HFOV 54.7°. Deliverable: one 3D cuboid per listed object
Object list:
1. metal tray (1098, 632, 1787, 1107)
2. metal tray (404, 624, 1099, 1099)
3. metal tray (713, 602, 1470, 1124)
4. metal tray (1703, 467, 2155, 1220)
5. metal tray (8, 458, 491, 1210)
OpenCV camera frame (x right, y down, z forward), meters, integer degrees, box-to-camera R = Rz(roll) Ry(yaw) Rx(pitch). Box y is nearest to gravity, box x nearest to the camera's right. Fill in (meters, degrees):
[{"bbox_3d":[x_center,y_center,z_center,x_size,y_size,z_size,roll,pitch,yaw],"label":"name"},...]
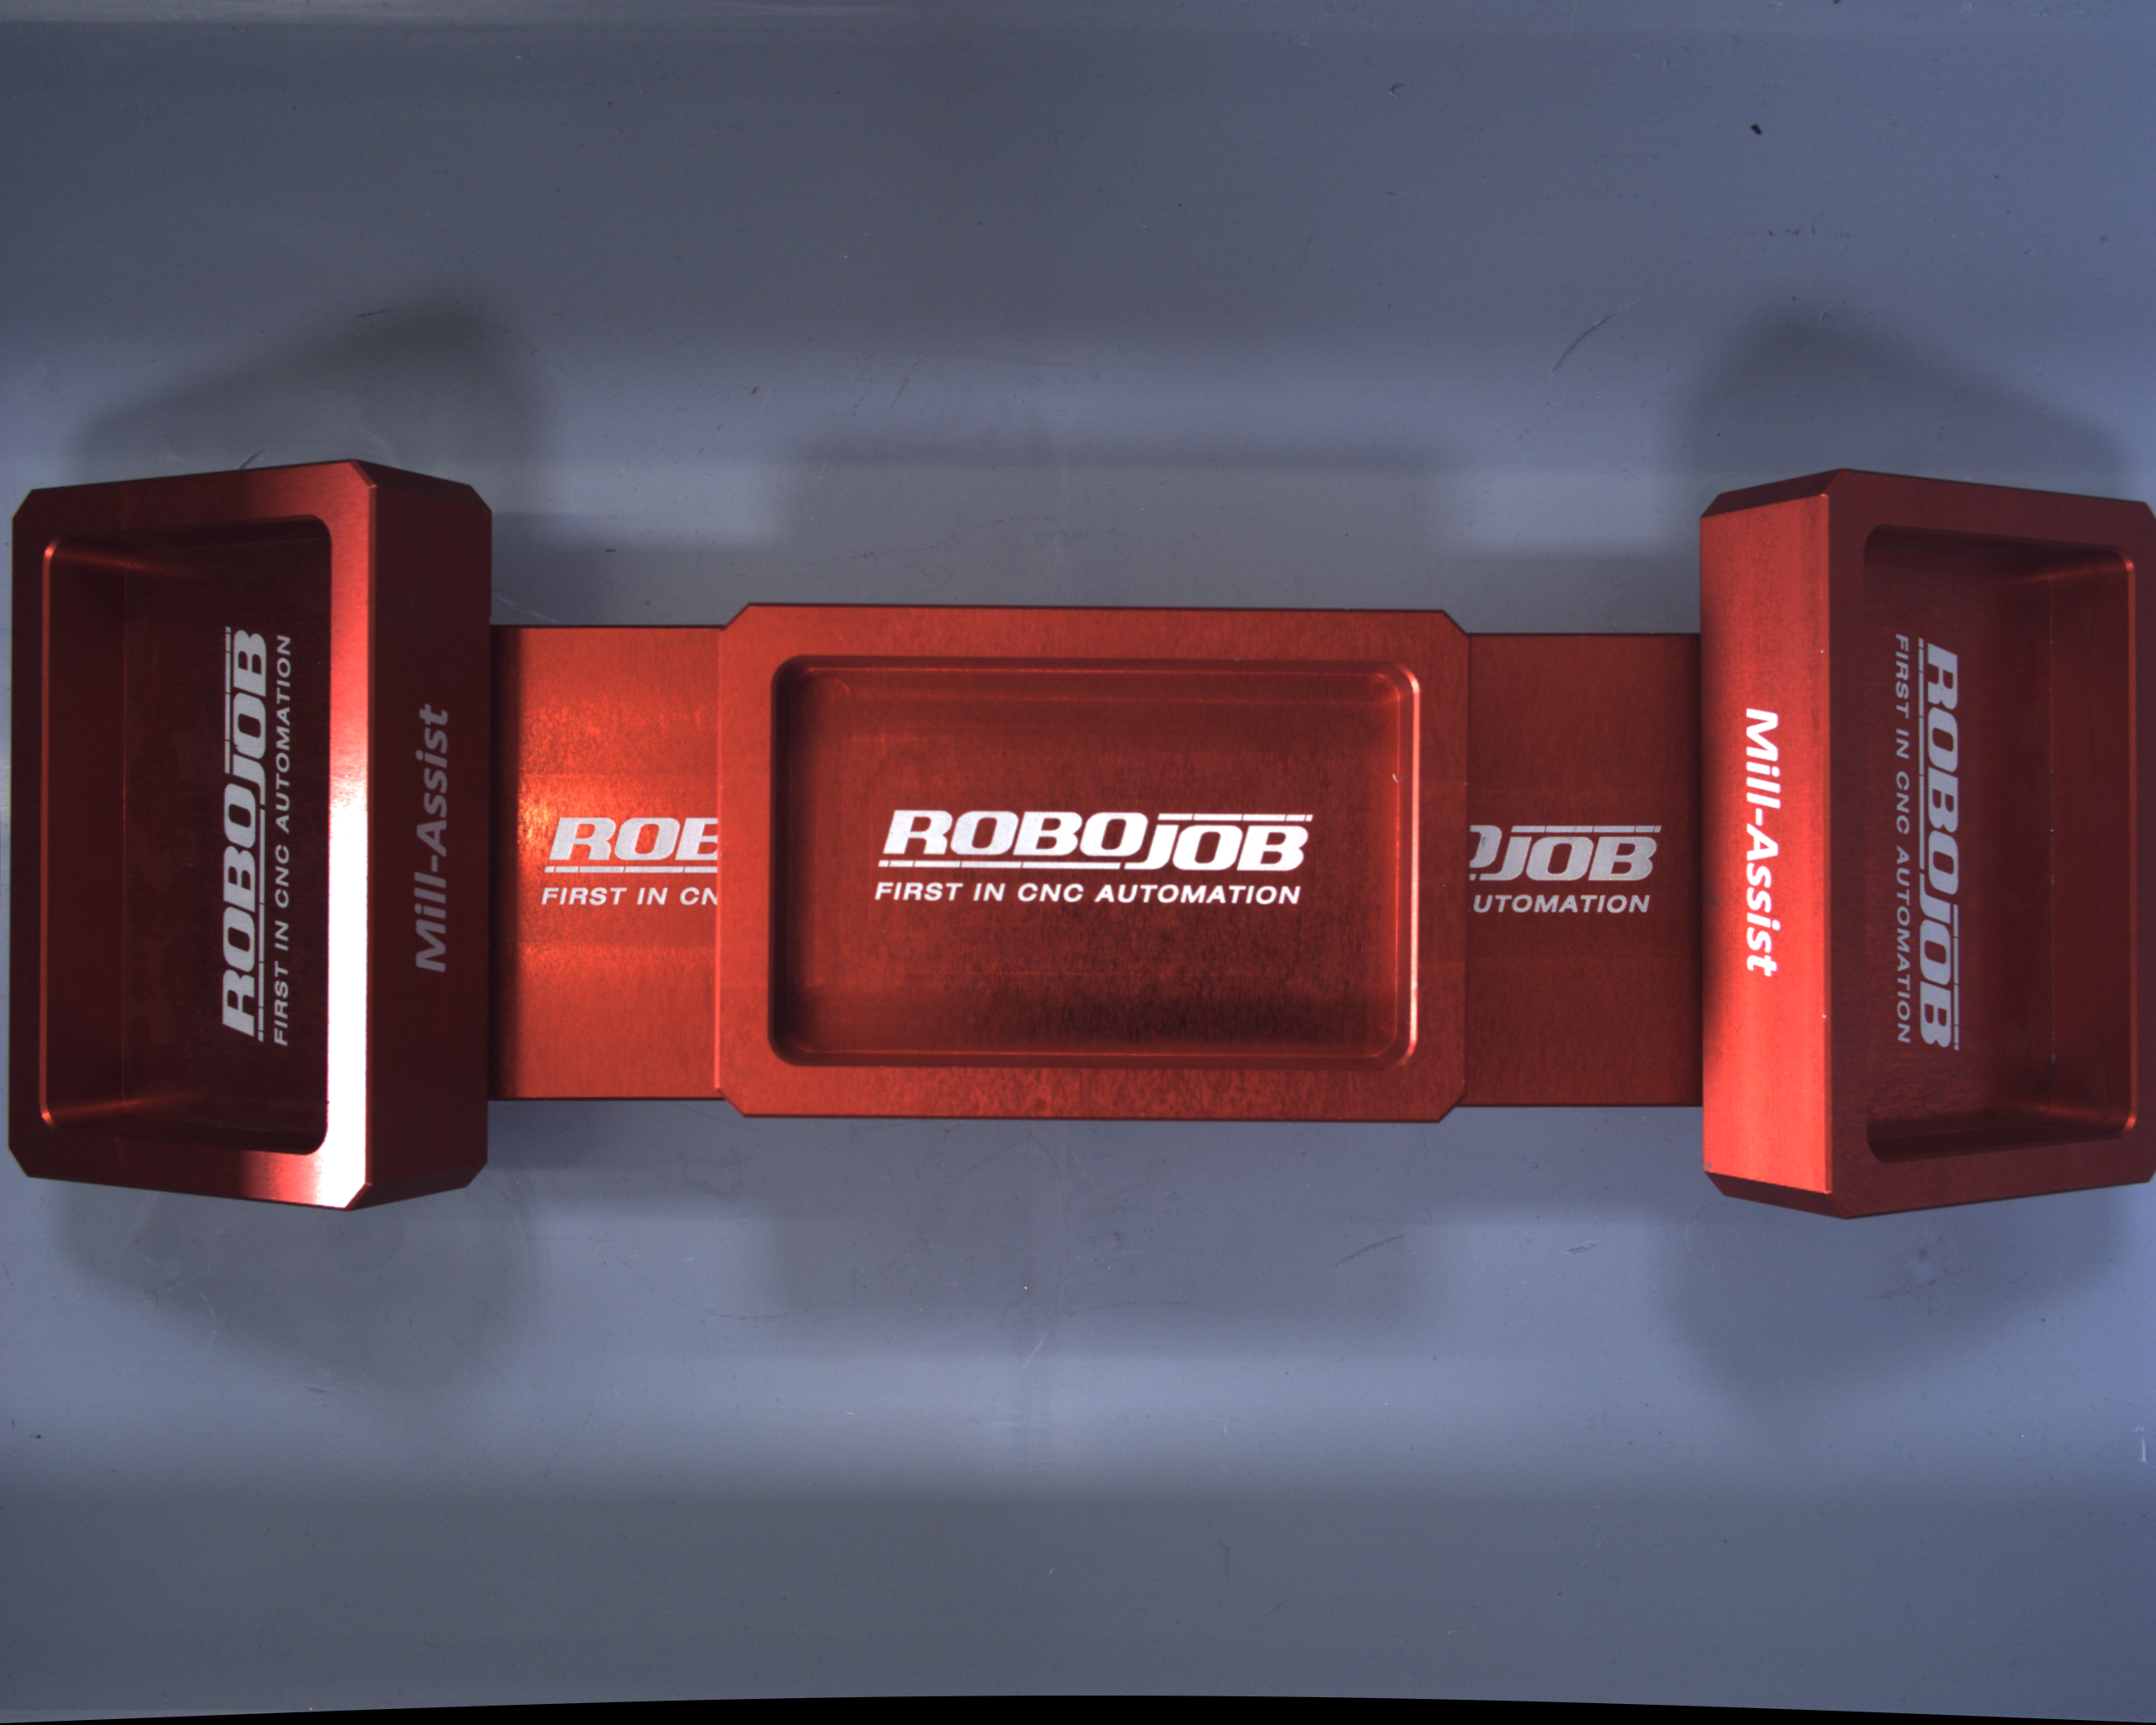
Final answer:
[{"bbox_3d":[0.069,0.001,0.408,0.131,0.030,0.089,0,90,0],"label":"metal tray"},{"bbox_3d":[-0.062,0.000,0.408,0.131,0.030,0.089,0,90,0],"label":"metal tray"},{"bbox_3d":[0.003,0.000,0.377,0.131,0.030,0.089,1,89,0],"label":"metal tray"},{"bbox_3d":[0.160,-0.003,0.389,0.091,0.030,0.129,0,90,-28],"label":"metal tray"},{"bbox_3d":[-0.155,-0.005,0.388,0.090,0.030,0.129,1,90,25],"label":"metal tray"}]
